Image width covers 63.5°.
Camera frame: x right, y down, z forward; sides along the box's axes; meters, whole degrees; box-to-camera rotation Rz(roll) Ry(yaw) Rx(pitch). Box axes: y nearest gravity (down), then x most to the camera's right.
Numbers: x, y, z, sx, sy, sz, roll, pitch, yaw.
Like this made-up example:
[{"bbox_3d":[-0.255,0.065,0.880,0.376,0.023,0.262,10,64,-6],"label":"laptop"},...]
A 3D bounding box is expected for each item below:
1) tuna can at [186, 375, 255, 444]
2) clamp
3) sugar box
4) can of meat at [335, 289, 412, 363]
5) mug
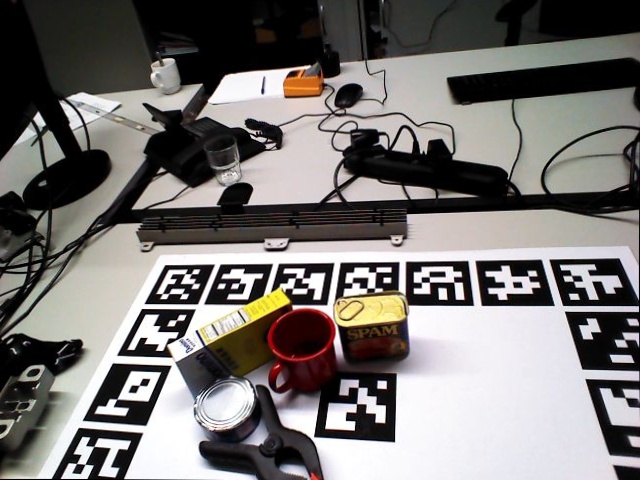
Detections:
[{"bbox_3d":[-0.129,0.222,0.677,0.086,0.034,0.085,-8,41,7],"label":"tuna can"},{"bbox_3d":[-0.059,0.259,0.623,0.166,0.037,0.121,28,50,33],"label":"clamp"},{"bbox_3d":[-0.118,0.148,0.726,0.176,0.093,0.045,-26,40,-18],"label":"sugar box"},{"bbox_3d":[0.076,0.120,0.715,0.102,0.084,0.057,-7,38,5],"label":"can of meat"},{"bbox_3d":[-0.030,0.152,0.694,0.094,0.081,0.116,17,49,30],"label":"mug"}]
